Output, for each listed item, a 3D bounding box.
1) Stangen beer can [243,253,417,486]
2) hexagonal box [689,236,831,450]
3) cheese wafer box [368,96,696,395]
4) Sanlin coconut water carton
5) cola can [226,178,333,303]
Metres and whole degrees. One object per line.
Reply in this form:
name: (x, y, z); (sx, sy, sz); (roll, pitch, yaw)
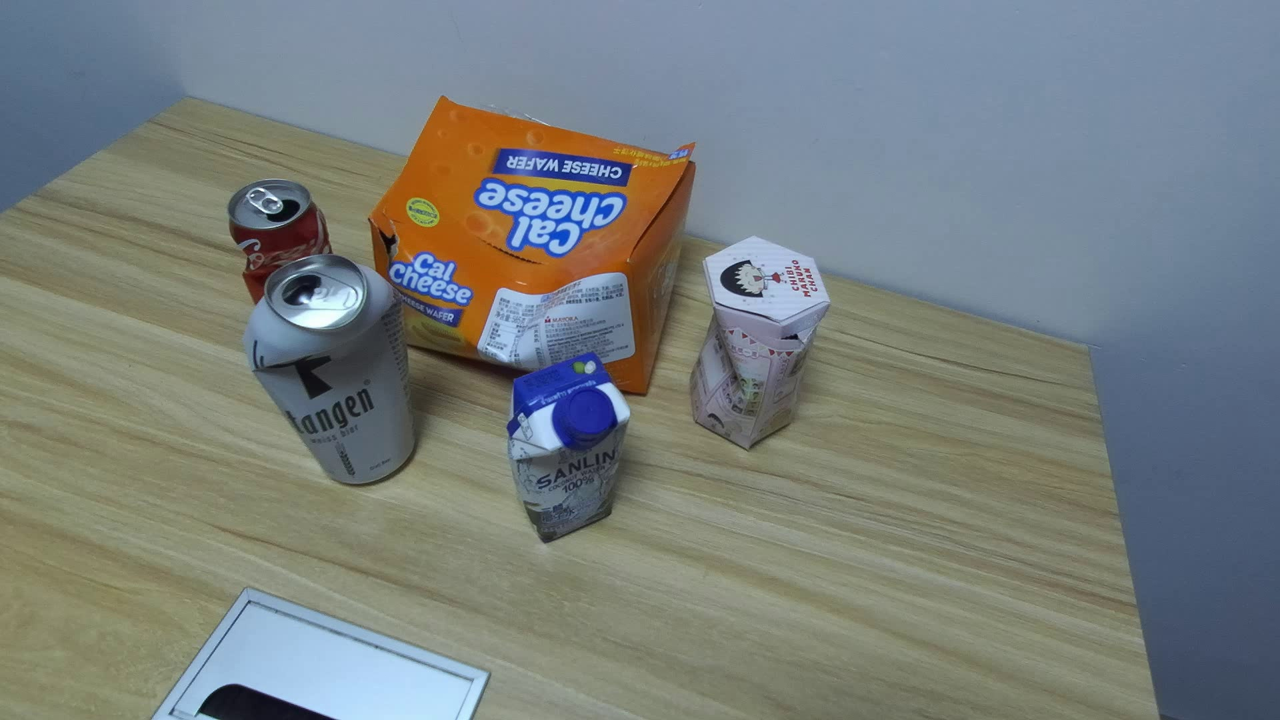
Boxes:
Stangen beer can: (-0.186, 0.012, 0.442); (0.066, 0.162, 0.077); (10, 49, 1)
hexagonal box: (0.079, -0.008, 0.516); (0.090, 0.134, 0.091); (30, 52, 22)
cheese wafer box: (-0.082, -0.083, 0.554); (0.219, 0.145, 0.191); (13, 49, 3)
Sanlin coconut water carton: (-0.045, 0.056, 0.442); (0.078, 0.142, 0.057); (-21, 60, -24)
cola can: (-0.266, -0.075, 0.533); (0.066, 0.117, 0.065); (-17, 53, -22)
